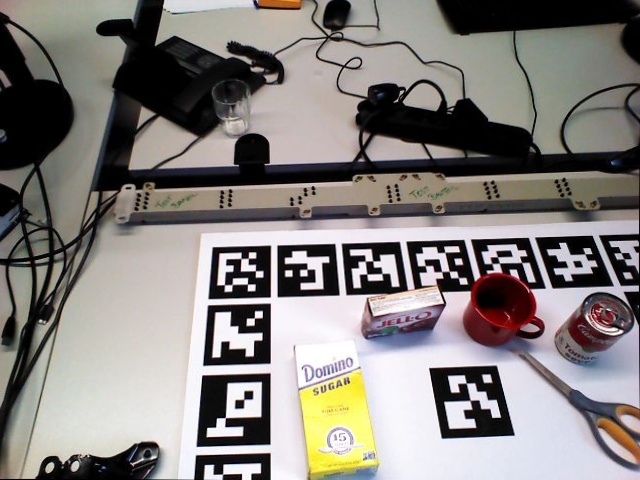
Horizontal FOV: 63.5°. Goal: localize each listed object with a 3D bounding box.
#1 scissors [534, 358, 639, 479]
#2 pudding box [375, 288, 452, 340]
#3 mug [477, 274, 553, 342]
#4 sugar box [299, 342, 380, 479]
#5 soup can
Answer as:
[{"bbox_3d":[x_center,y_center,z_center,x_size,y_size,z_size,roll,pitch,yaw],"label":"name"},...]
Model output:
[{"bbox_3d":[0.387,0.232,0.717,0.087,0.016,0.203,-44,67,-13],"label":"scissors"},{"bbox_3d":[0.140,0.106,0.757,0.114,0.090,0.038,-10,64,-6],"label":"pudding box"},{"bbox_3d":[0.289,0.105,0.764,0.093,0.082,0.117,-35,62,-17],"label":"mug"},{"bbox_3d":[0.024,0.233,0.713,0.093,0.045,0.175,-6,59,0],"label":"sugar box"},{"bbox_3d":[0.406,0.132,0.741,0.068,0.102,0.067,-1,56,1],"label":"soup can"}]
